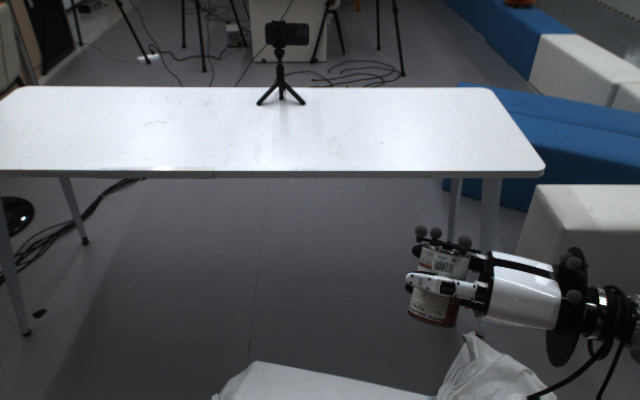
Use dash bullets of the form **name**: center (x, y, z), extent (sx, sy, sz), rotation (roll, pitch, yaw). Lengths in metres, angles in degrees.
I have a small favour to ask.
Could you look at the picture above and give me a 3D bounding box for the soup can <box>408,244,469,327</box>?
- **soup can**: center (0.168, 0.116, 0.673), extent (0.067, 0.101, 0.067), rotation (12, 2, 0)
